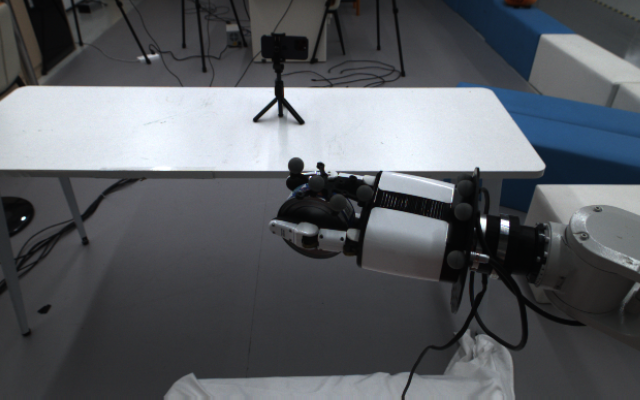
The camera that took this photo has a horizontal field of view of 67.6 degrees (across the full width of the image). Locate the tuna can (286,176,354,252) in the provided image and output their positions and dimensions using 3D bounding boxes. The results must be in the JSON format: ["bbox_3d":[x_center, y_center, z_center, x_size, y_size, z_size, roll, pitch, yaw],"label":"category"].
[{"bbox_3d":[-0.001,0.022,0.552,0.085,0.085,0.034,12,33,14],"label":"tuna can"}]
